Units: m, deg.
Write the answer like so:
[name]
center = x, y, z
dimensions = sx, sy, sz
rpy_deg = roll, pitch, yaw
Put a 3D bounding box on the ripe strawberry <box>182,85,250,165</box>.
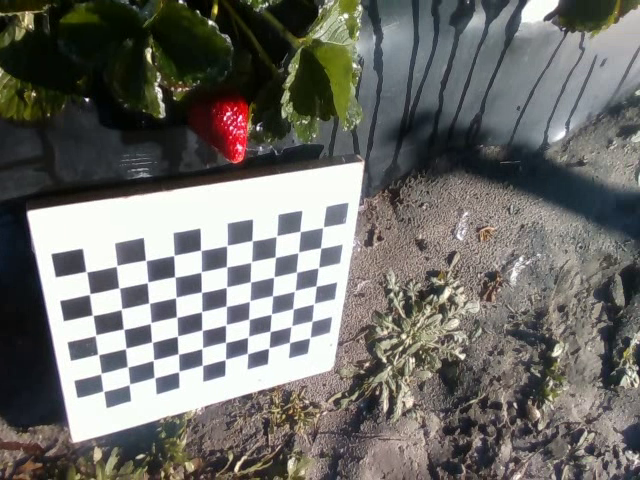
[ripe strawberry]
center = -0.071, -0.081, 0.483
dimensions = 0.048, 0.061, 0.044
rpy_deg = -17, 9, -19
